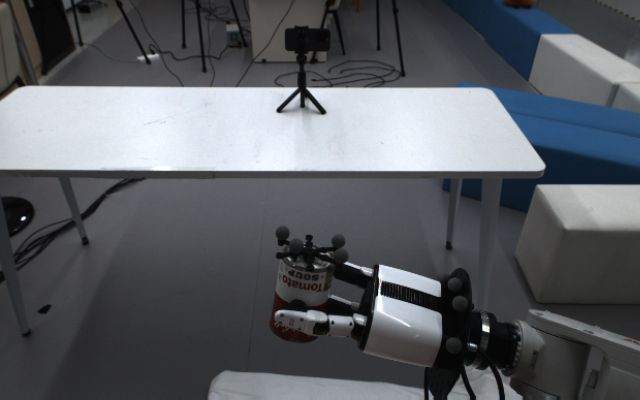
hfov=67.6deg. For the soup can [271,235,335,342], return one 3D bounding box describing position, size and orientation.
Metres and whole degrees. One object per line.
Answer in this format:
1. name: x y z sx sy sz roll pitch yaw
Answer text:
1. soup can: -0.019 0.112 0.594 0.067 0.101 0.067 9 20 -3
